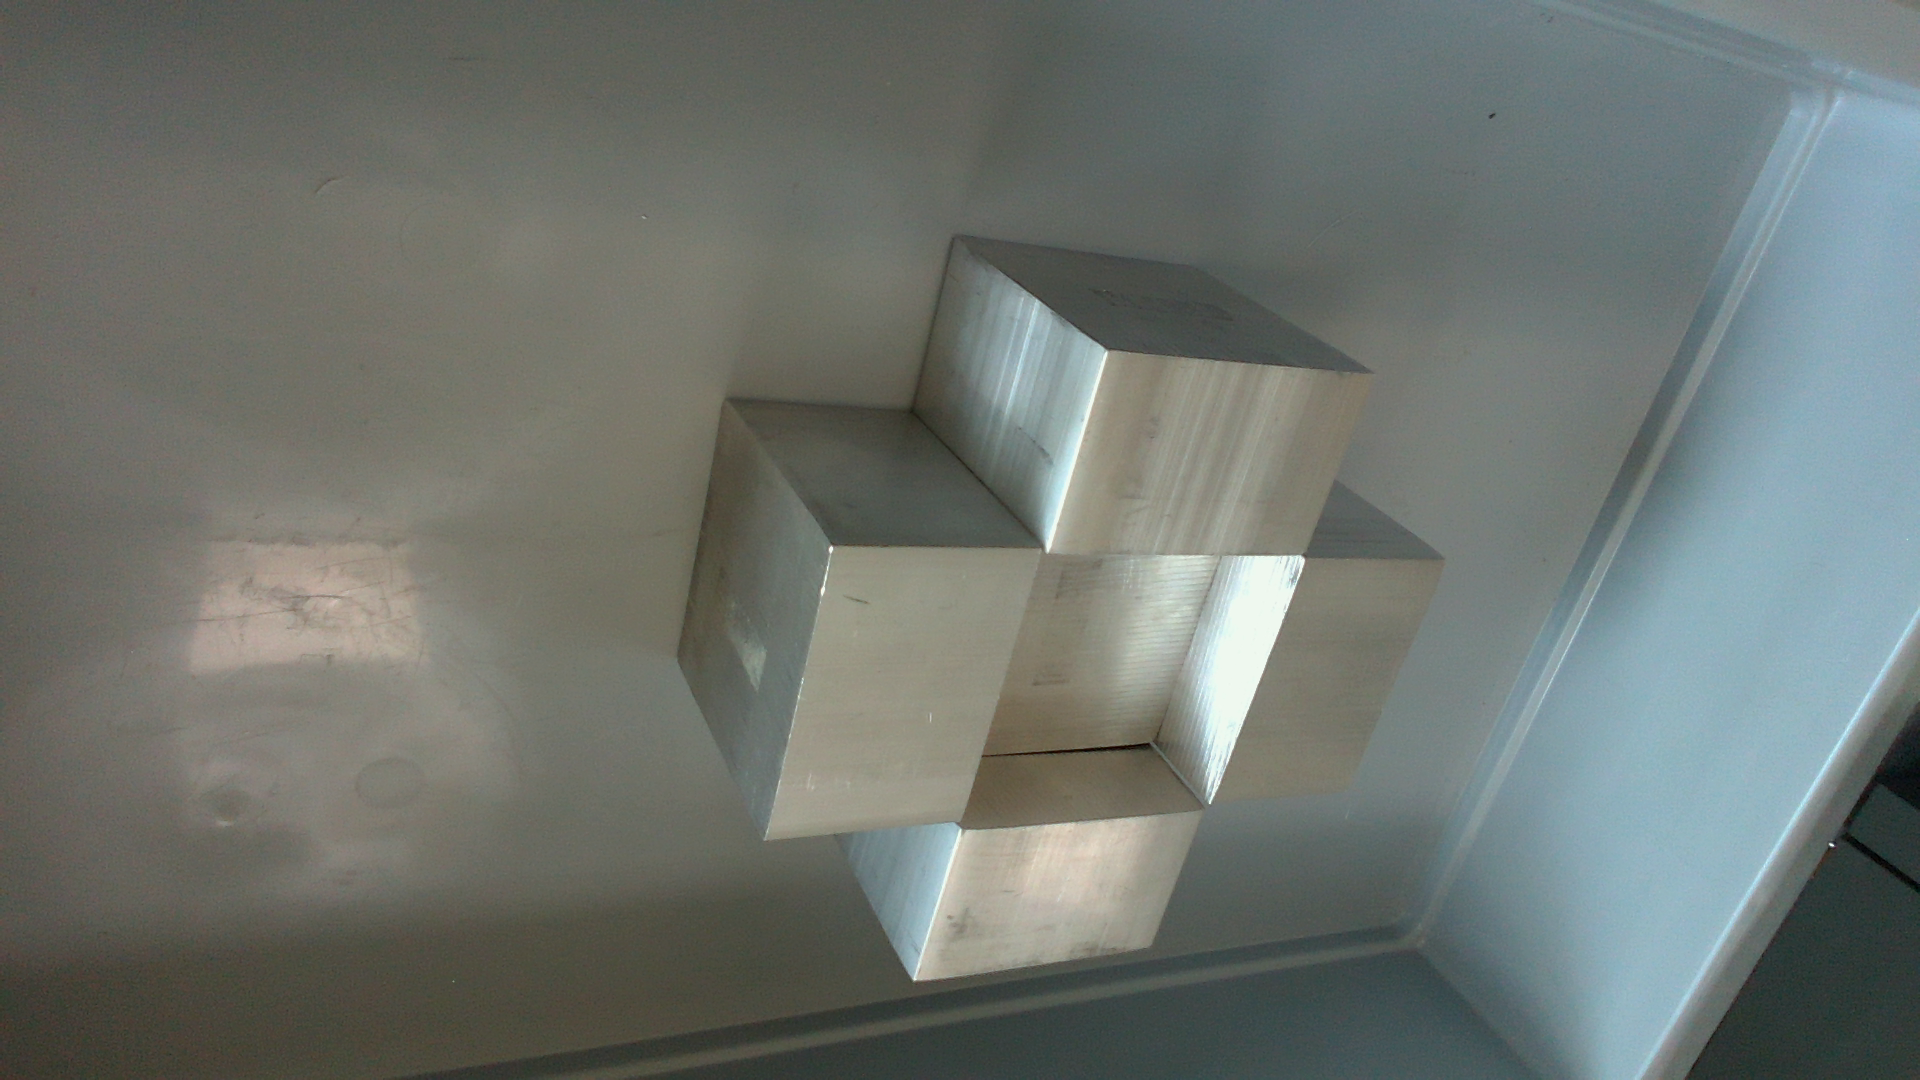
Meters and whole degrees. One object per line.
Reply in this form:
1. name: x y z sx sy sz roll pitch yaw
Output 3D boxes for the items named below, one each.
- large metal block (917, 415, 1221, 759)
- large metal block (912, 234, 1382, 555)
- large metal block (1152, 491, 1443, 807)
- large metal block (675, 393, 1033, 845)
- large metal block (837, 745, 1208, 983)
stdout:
1. large metal block: 0.022 0.013 0.391 0.080 0.050 0.080 1 118 -29
2. large metal block: 0.044 -0.038 0.353 0.080 0.080 0.050 1 118 -29
3. large metal block: 0.084 0.021 0.412 0.050 0.080 0.080 1 118 -29
4. large metal block: -0.031 0.017 0.347 0.050 0.080 0.080 1 118 -29
5. large metal block: 0.011 0.078 0.406 0.080 0.080 0.050 2 118 -29
